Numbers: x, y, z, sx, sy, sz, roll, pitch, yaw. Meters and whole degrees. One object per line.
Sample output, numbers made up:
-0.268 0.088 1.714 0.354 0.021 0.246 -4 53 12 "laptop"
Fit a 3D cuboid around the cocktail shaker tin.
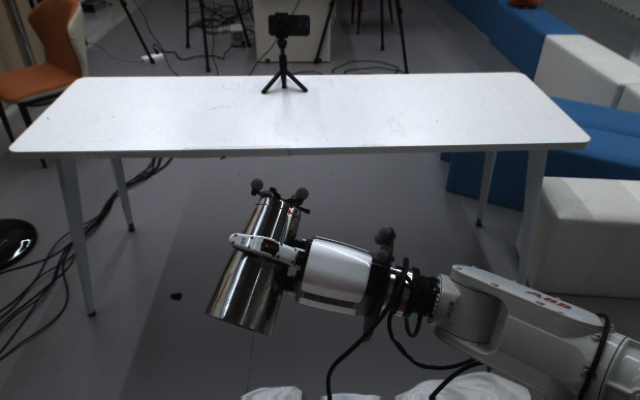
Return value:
-0.084 0.086 0.652 0.093 0.093 0.170 13 70 15 "cocktail shaker tin"
